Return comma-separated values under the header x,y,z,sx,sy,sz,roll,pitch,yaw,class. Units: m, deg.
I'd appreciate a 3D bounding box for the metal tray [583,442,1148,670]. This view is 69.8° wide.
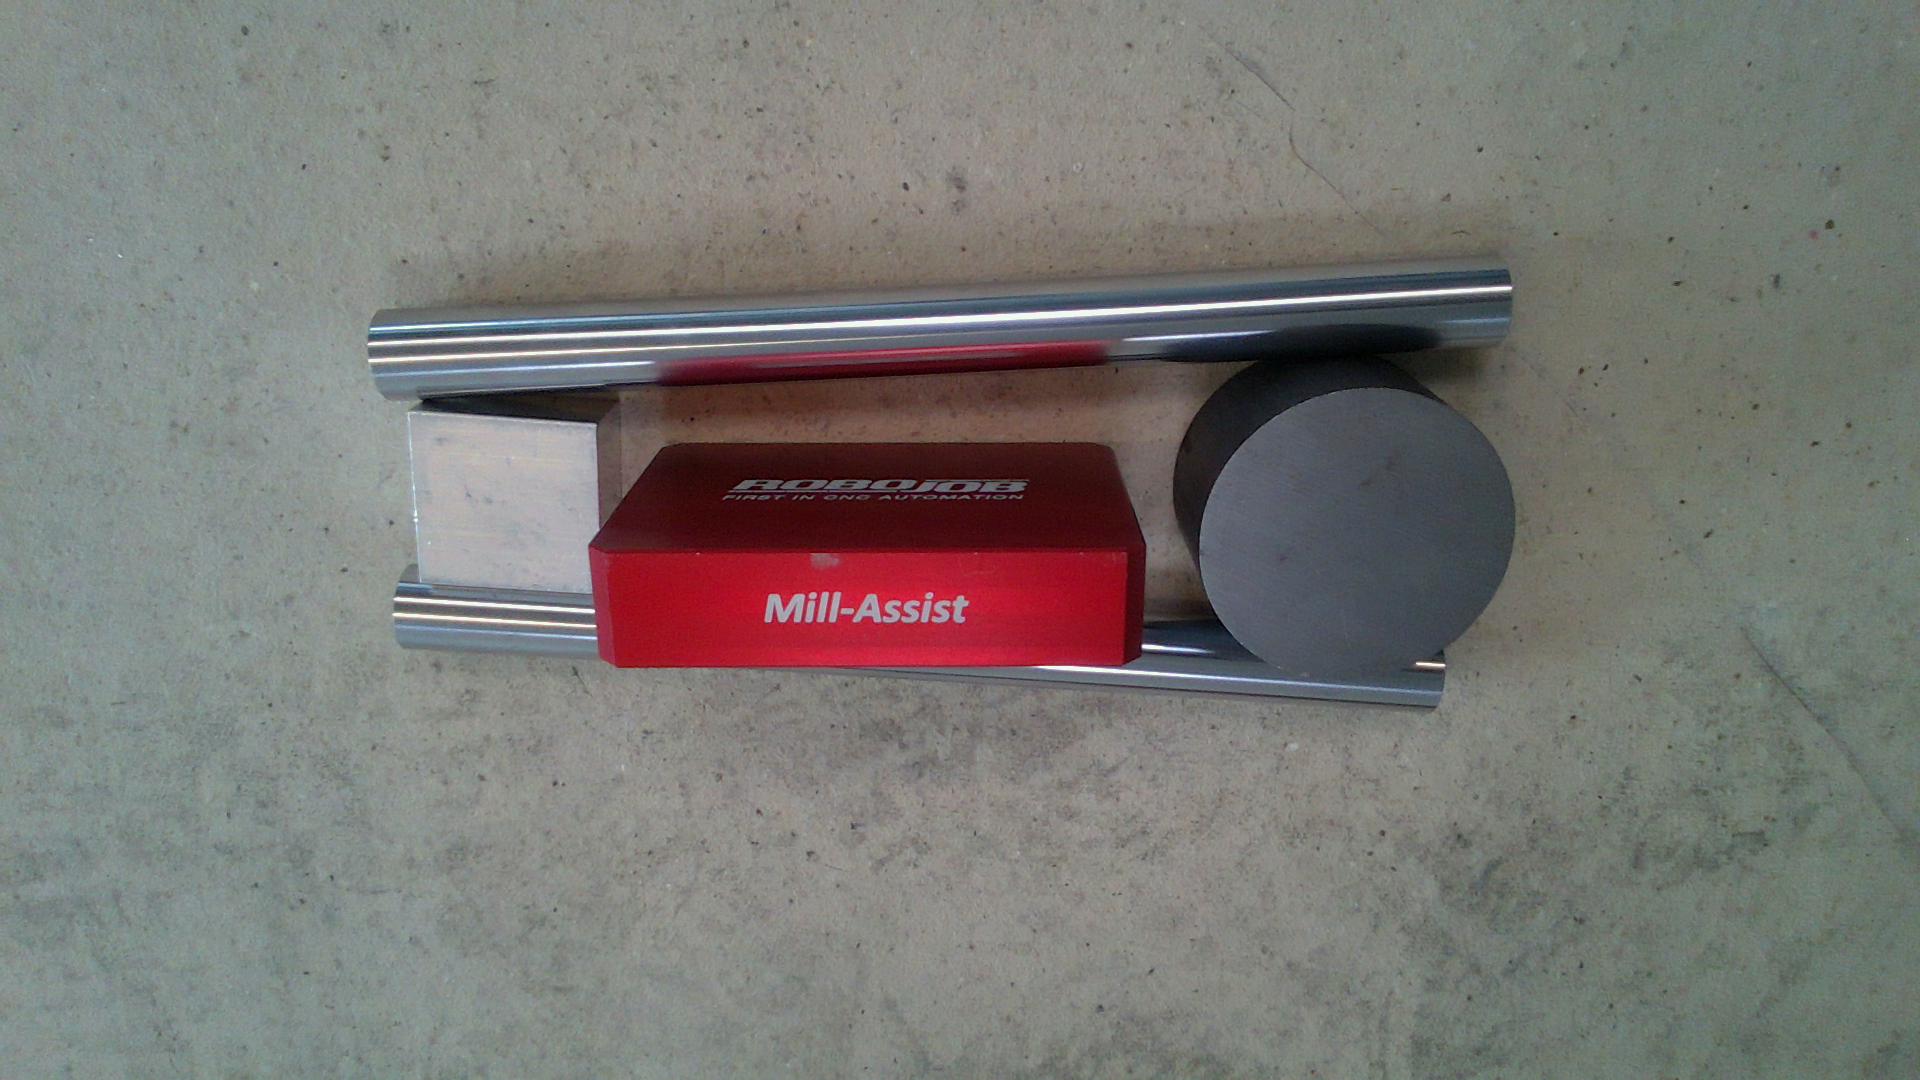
x,y,z,sx,sy,sz,roll,pitch,yaw,class
-0.021,0.001,0.358,0.130,0.090,0.030,0,110,0,metal tray

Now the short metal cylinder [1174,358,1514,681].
x,y,z,sx,sy,sz,roll,pitch,yaw,class
0.102,-0.009,0.378,0.080,0.050,0.080,0,110,0,short metal cylinder

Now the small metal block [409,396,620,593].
x,y,z,sx,sy,sz,roll,pitch,yaw,class
-0.124,-0.014,0.389,0.050,0.025,0.050,4,110,-2,small metal block

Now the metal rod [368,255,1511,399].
x,y,z,sx,sy,sz,roll,pitch,yaw,class
-0.006,-0.057,0.373,0.300,0.025,0.025,-3,110,1,metal rod

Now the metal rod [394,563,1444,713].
x,y,z,sx,sy,sz,roll,pitch,yaw,class
-0.010,0.029,0.405,0.300,0.025,0.025,4,110,-2,metal rod
